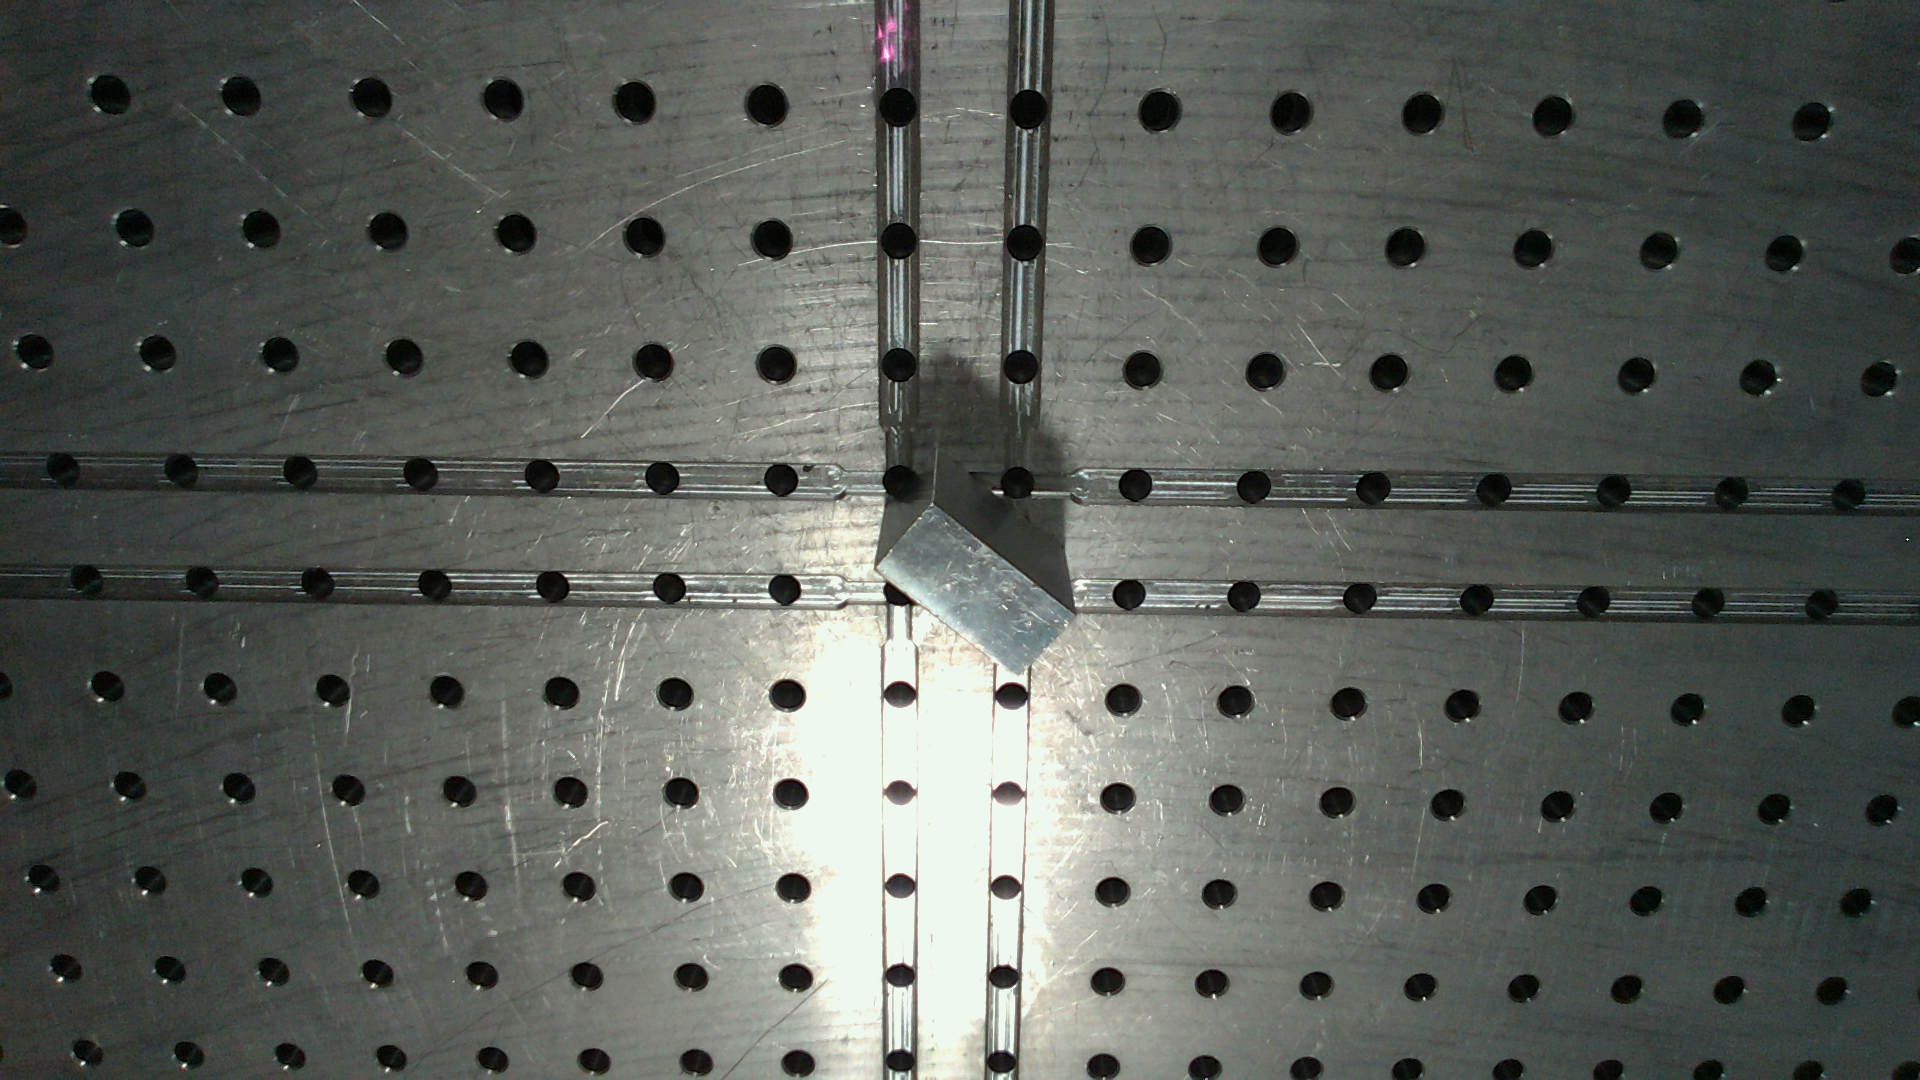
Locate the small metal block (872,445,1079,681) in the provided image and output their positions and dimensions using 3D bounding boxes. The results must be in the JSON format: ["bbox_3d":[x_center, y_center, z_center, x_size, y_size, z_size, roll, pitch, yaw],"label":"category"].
[{"bbox_3d":[0.004,0.005,0.385,0.050,0.050,0.025,38,106,-13],"label":"small metal block"}]
